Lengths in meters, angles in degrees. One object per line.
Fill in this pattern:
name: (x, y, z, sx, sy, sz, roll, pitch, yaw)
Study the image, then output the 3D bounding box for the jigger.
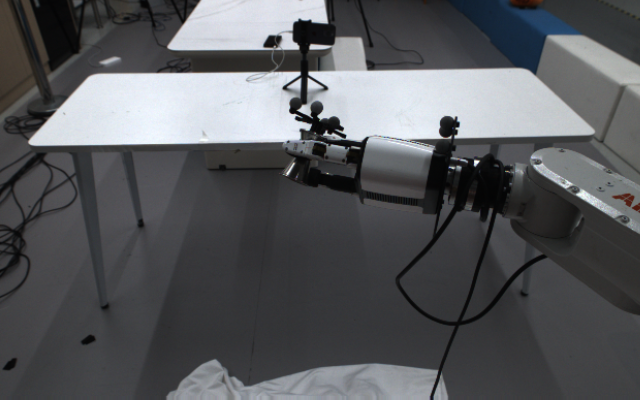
jigger: (-0.024, -0.059, 0.655, 0.043, 0.071, 0.043, 24, -3, 1)
